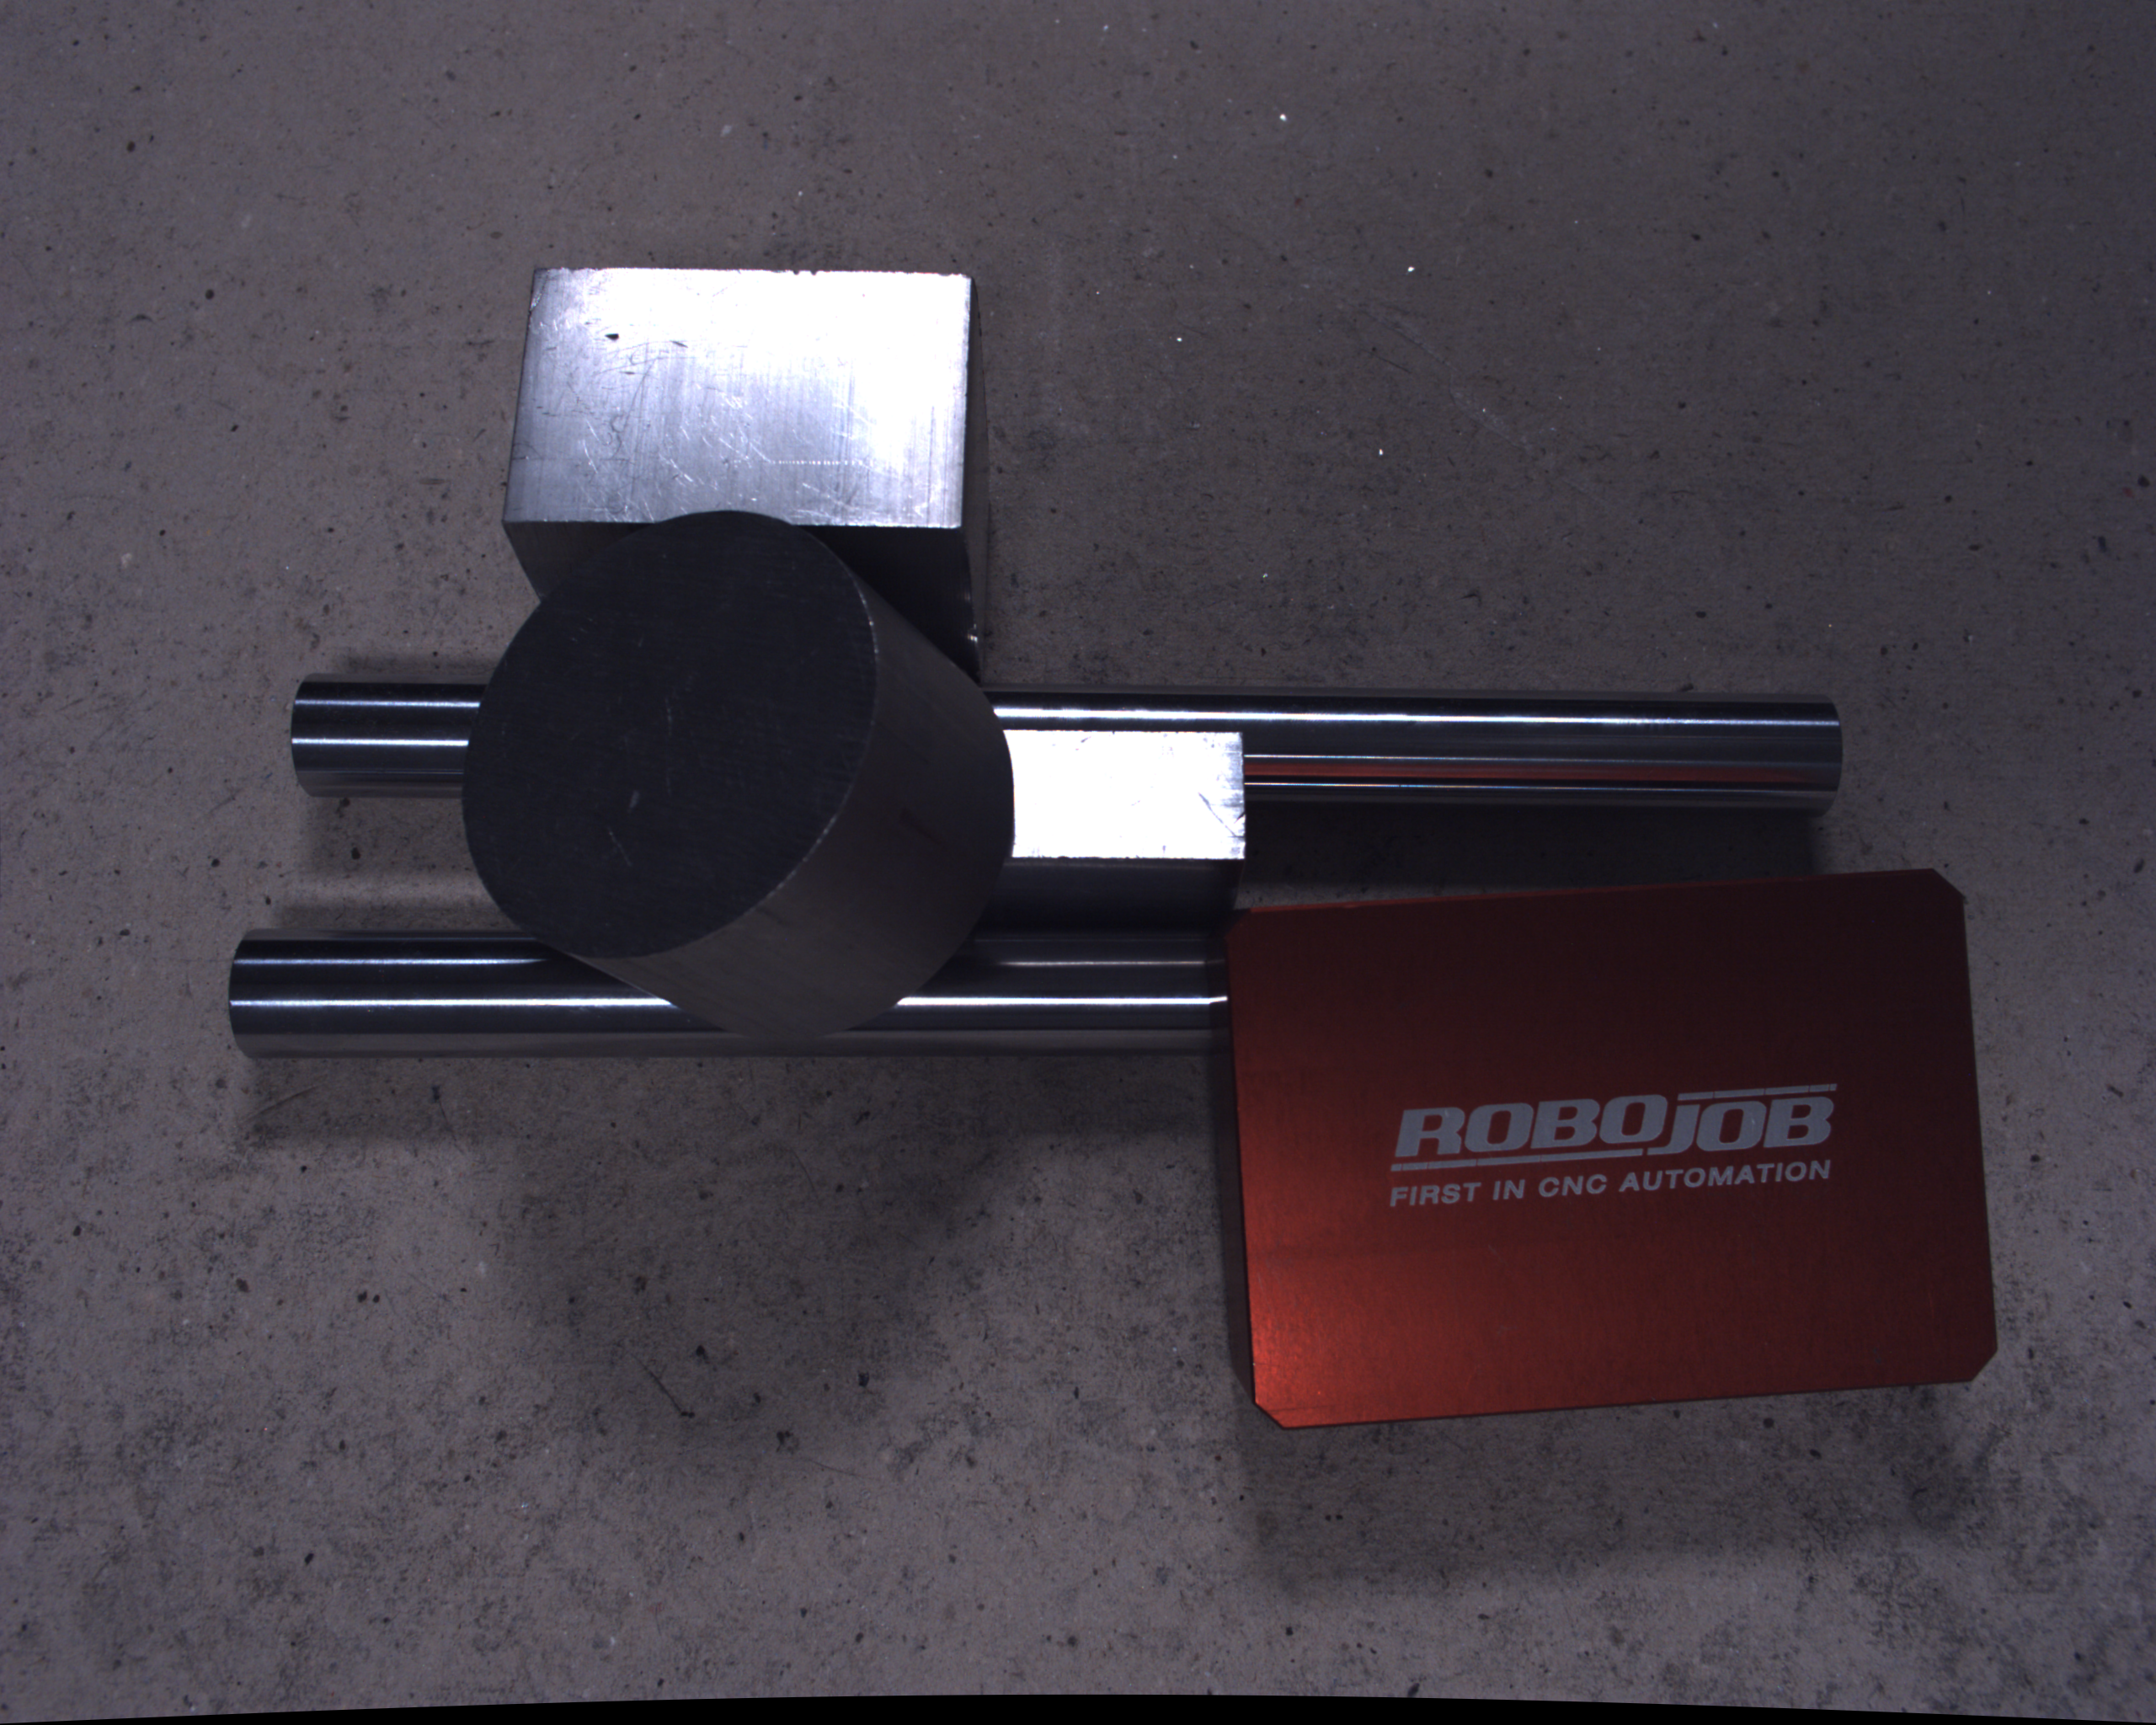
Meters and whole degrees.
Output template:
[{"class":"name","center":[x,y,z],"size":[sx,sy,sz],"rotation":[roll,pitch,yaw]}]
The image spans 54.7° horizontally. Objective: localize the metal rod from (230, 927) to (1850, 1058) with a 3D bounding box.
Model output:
[{"class":"metal rod","center":[-0.006,0.025,0.401],"size":[0.302,0.025,0.025],"rotation":[0,70,-1]}]

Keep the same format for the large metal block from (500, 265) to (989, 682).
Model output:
[{"class":"large metal block","center":[-0.059,-0.071,0.406],"size":[0.081,0.080,0.050],"rotation":[1,70,0]}]

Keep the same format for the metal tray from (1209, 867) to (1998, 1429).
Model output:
[{"class":"metal tray","center":[0.092,0.049,0.375],"size":[0.131,0.030,0.089],"rotation":[-3,88,-3]}]

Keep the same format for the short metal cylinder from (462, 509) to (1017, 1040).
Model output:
[{"class":"short metal cylinder","center":[-0.058,-0.014,0.363],"size":[0.080,0.050,0.080],"rotation":[-9,66,22]}]

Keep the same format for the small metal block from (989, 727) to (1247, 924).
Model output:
[{"class":"small metal block","center":[0.005,-0.004,0.397],"size":[0.050,0.050,0.025],"rotation":[1,70,0]}]

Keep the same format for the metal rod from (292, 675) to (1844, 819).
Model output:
[{"class":"metal rod","center":[-0.002,-0.023,0.418],"size":[0.302,0.025,0.025],"rotation":[1,70,0]}]
